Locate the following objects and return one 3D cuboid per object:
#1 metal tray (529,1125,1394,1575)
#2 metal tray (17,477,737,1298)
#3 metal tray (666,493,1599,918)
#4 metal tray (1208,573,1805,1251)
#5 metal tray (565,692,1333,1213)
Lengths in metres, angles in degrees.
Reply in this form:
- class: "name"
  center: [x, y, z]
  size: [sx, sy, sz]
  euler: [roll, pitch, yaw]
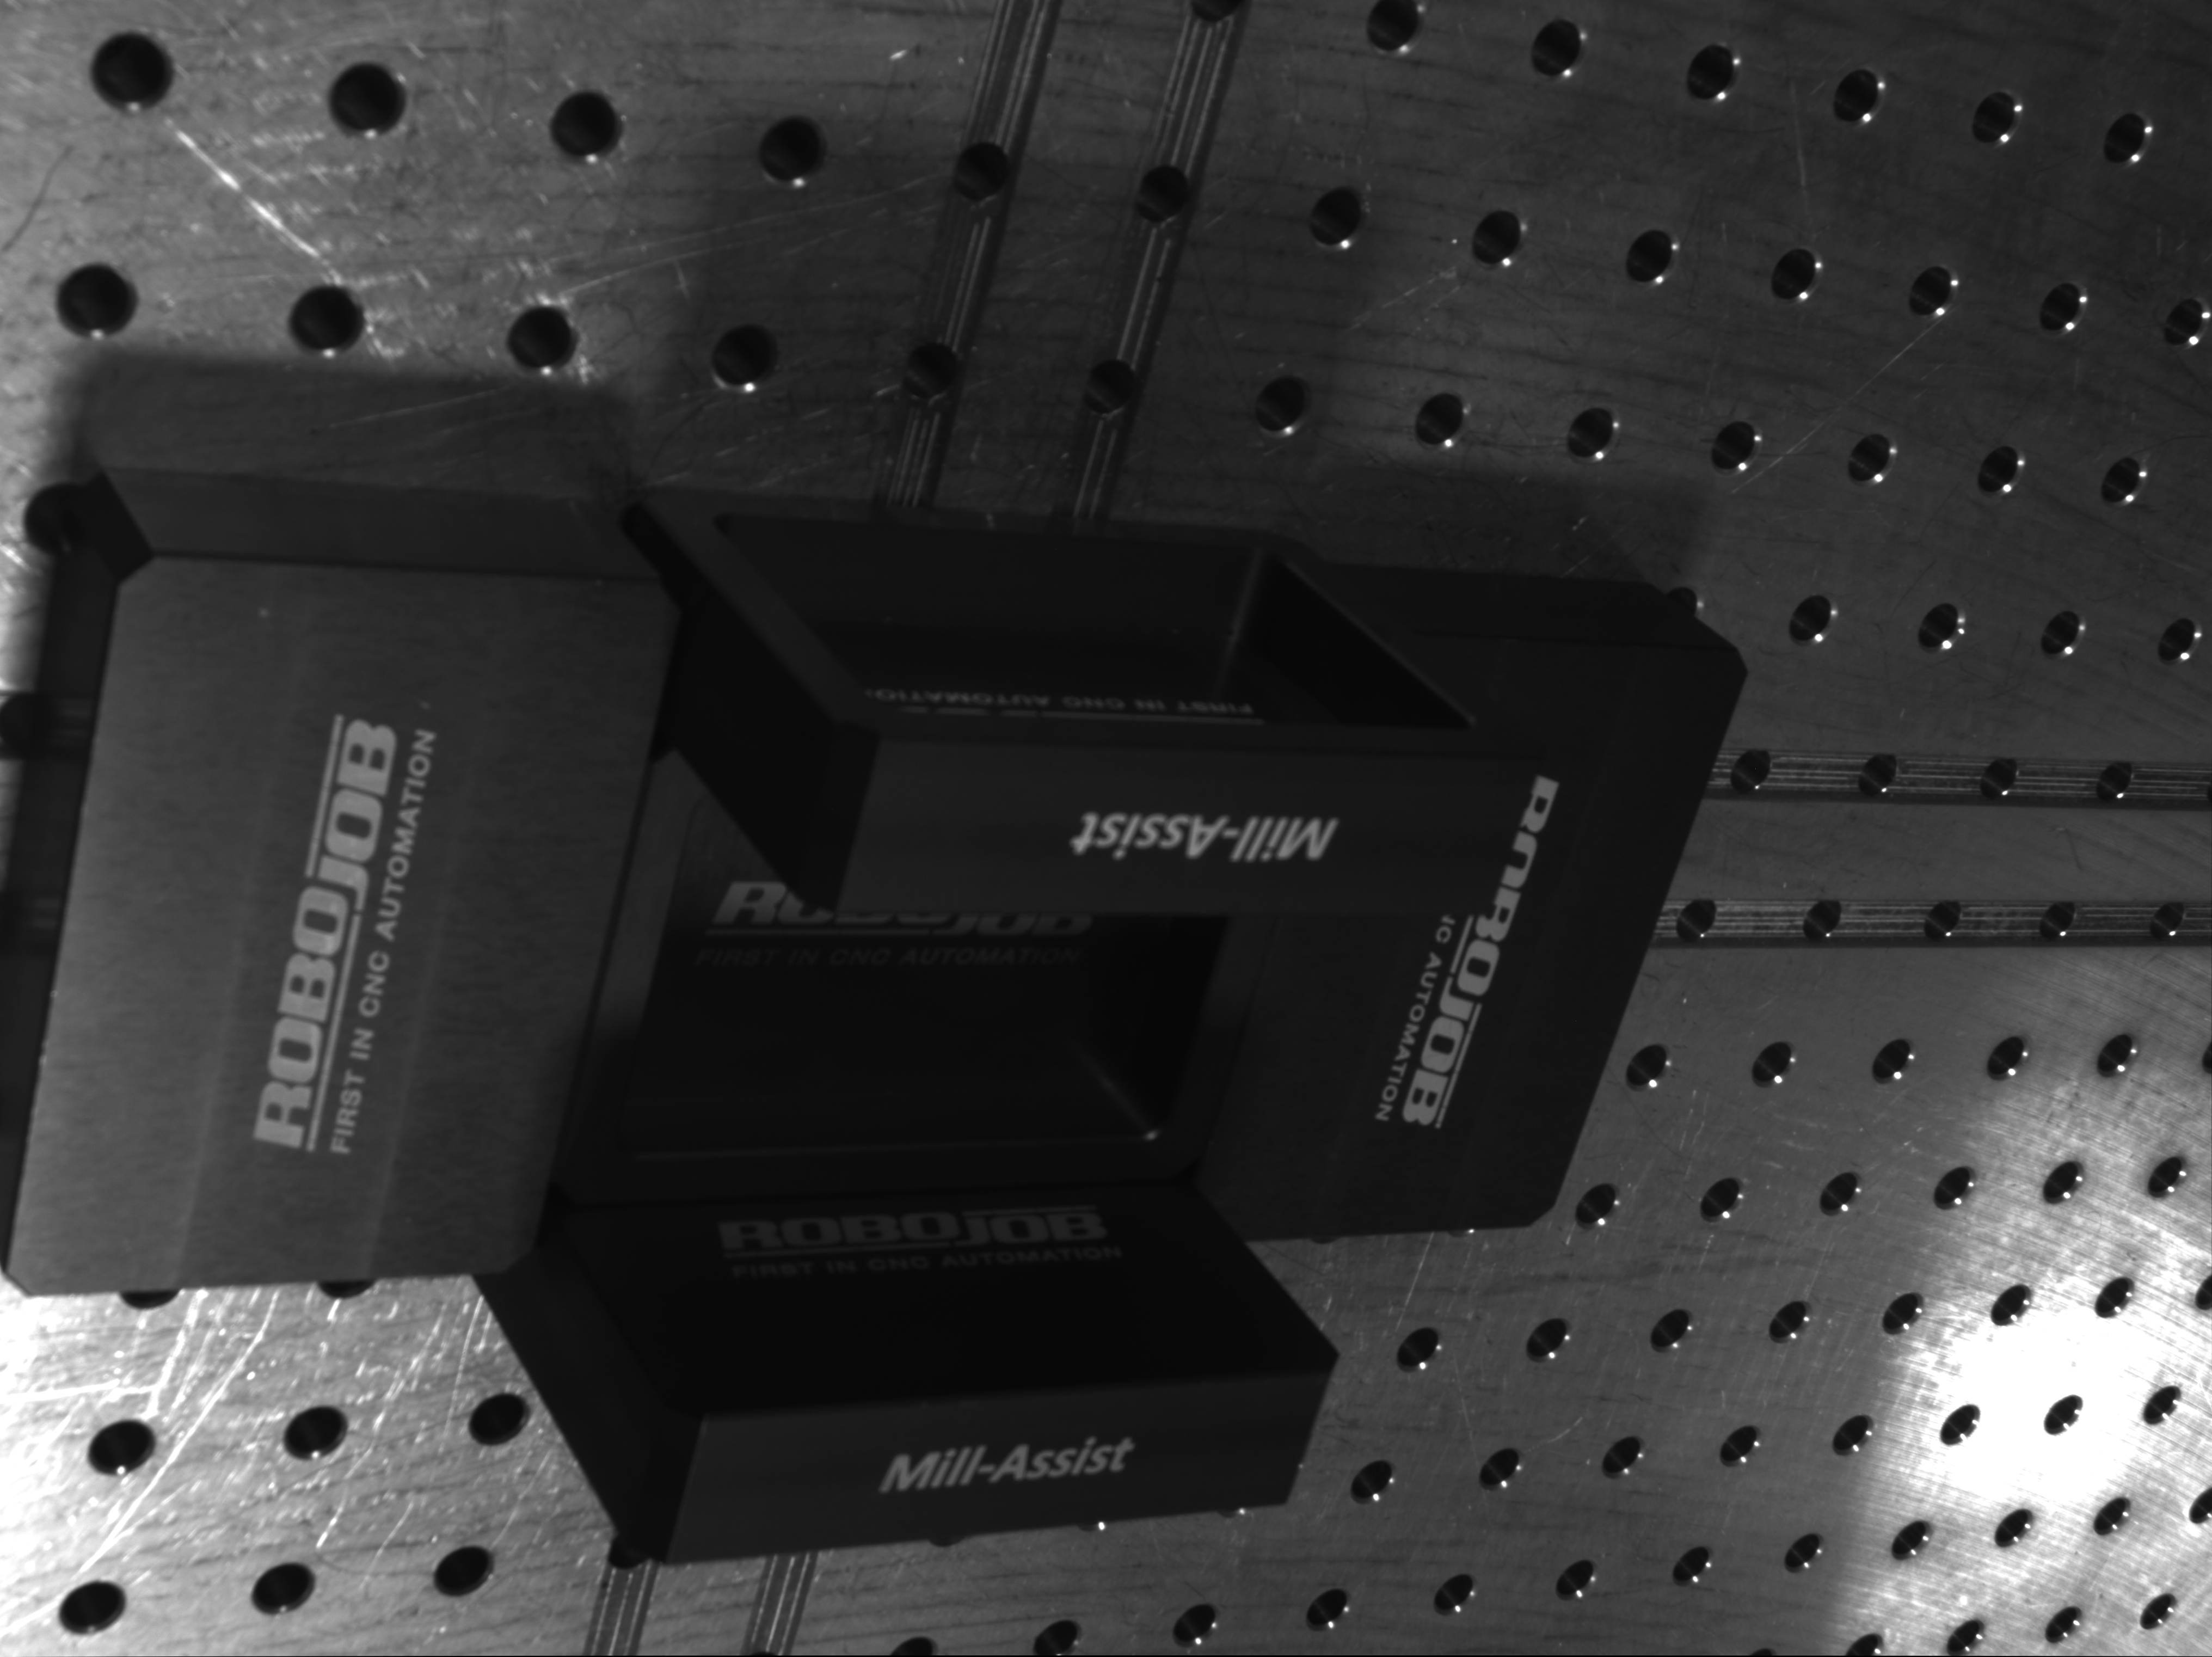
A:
- class: "metal tray"
  center: [-0.026, 0.087, 0.648]
  size: [0.130, 0.090, 0.030]
  euler: [1, 118, -31]
- class: "metal tray"
  center: [-0.118, 0.012, 0.588]
  size: [0.090, 0.030, 0.130]
  euler: [1, 118, -31]
- class: "metal tray"
  center: [0.003, -0.020, 0.601]
  size: [0.130, 0.090, 0.030]
  euler: [1, 118, -31]
- class: "metal tray"
  center: [0.072, 0.018, 0.701]
  size: [0.090, 0.030, 0.130]
  euler: [1, 118, -32]
- class: "metal tray"
  center: [-0.024, 0.020, 0.646]
  size: [0.130, 0.030, 0.090]
  euler: [1, 118, -31]
